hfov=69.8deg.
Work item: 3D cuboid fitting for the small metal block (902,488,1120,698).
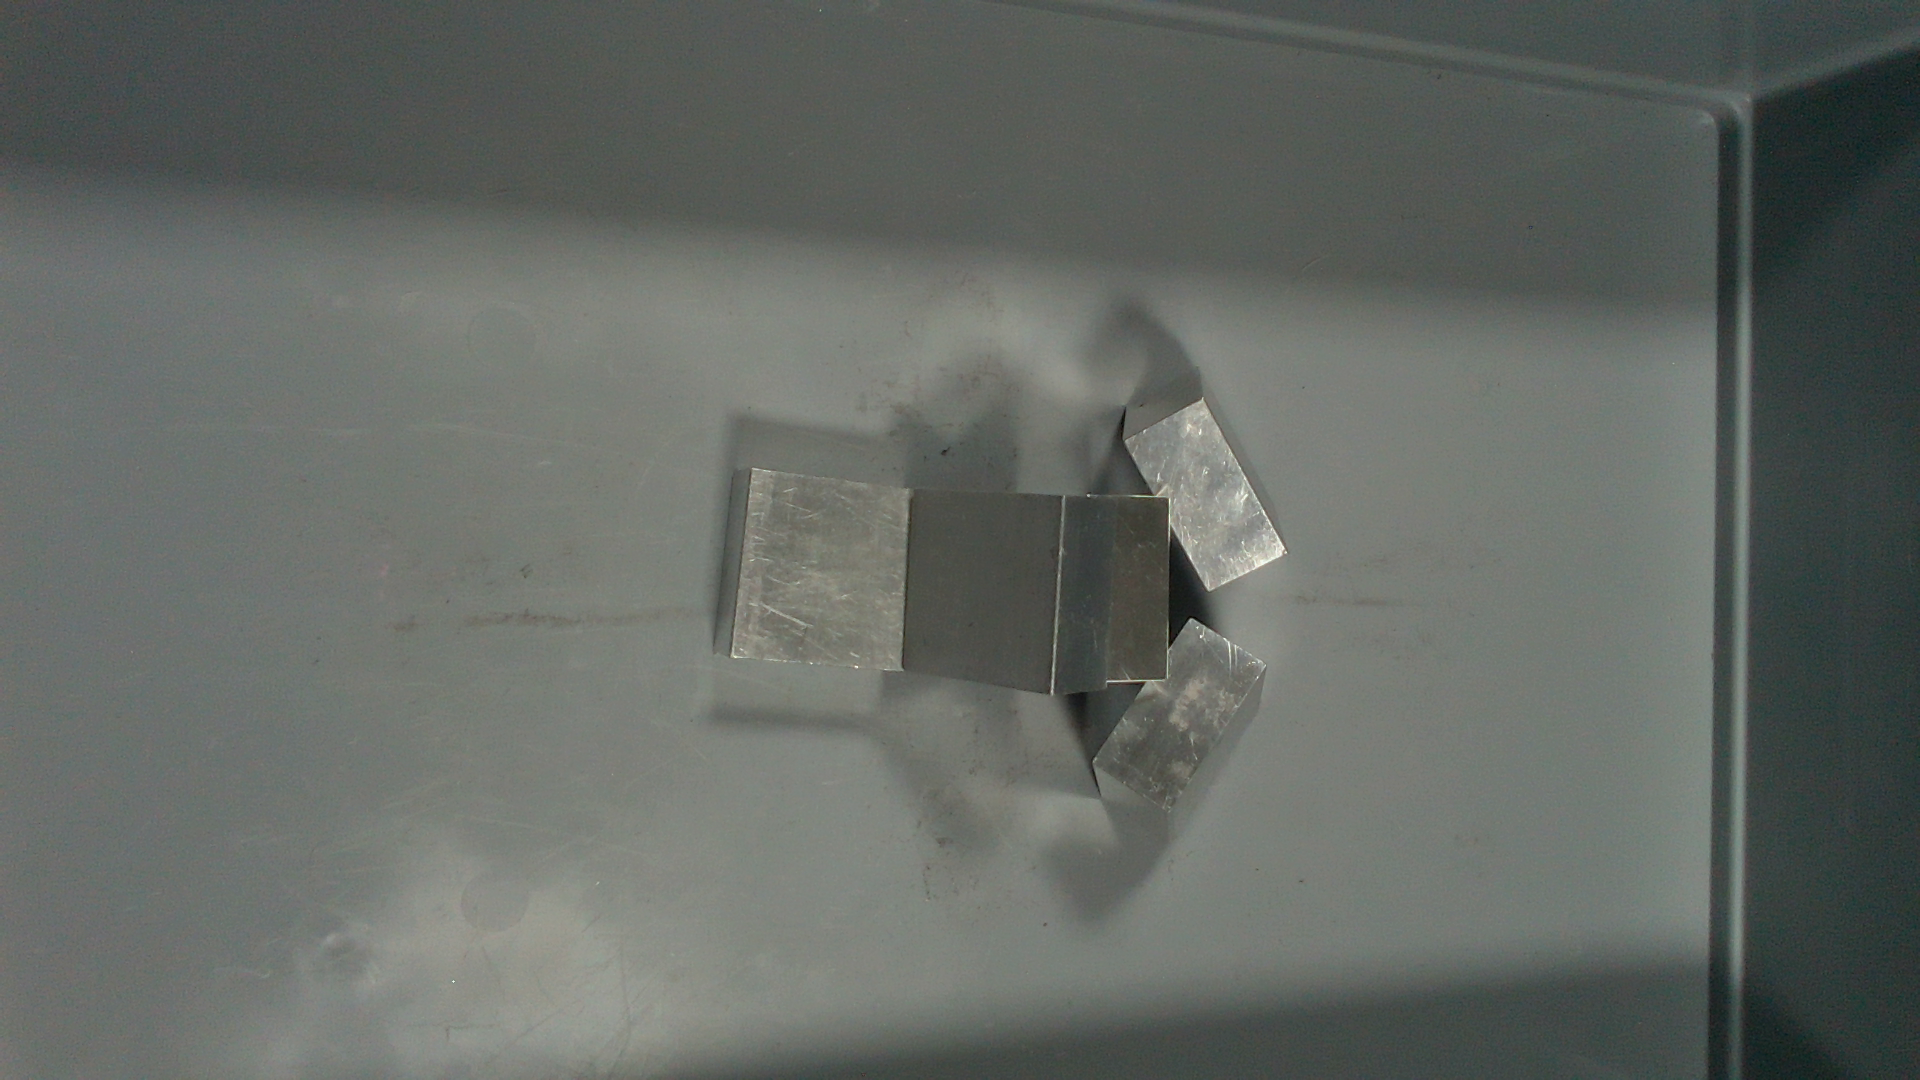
[{"bbox_3d":[0.013,0.013,0.364,0.025,0.050,0.050,1,93,-51],"label":"small metal block"}]

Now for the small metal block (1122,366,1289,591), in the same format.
[{"bbox_3d":[0.071,-0.020,0.402,0.025,0.050,0.050,-28,101,15],"label":"small metal block"}]

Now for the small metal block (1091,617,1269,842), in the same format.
[{"bbox_3d":[0.064,0.057,0.400,0.025,0.050,0.050,32,77,19],"label":"small metal block"}]

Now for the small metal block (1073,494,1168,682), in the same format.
[{"bbox_3d":[0.036,0.013,0.392,0.025,0.050,0.050,1,90,-20],"label":"small metal block"}]

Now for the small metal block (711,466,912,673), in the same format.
[{"bbox_3d":[-0.038,0.009,0.377,0.050,0.025,0.050,7,88,-20],"label":"small metal block"}]
